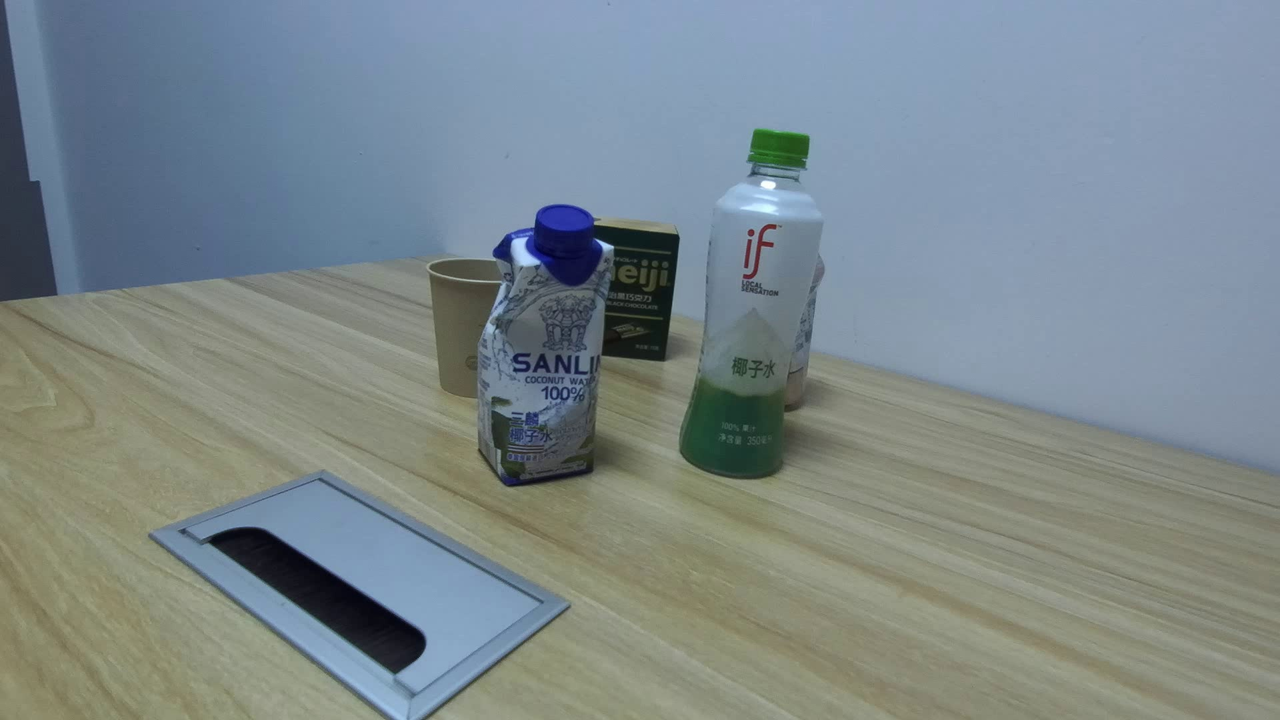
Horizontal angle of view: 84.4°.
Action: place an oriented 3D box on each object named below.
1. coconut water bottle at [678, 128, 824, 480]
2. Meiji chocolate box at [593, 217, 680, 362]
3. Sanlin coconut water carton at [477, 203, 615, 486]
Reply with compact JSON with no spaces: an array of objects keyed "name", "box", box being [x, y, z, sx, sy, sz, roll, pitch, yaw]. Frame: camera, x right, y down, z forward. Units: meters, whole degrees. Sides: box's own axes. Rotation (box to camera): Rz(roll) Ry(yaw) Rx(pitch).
[{"name":"coconut water bottle","box":[0.066,-0.030,0.405,0.063,0.188,0.063,6,16,-2]},{"name":"Meiji chocolate box","box":[-0.026,-0.062,0.591,0.110,0.109,0.056,6,21,-4]},{"name":"Sanlin coconut water carton","box":[-0.054,-0.010,0.377,0.061,0.143,0.069,-5,22,-30]}]
